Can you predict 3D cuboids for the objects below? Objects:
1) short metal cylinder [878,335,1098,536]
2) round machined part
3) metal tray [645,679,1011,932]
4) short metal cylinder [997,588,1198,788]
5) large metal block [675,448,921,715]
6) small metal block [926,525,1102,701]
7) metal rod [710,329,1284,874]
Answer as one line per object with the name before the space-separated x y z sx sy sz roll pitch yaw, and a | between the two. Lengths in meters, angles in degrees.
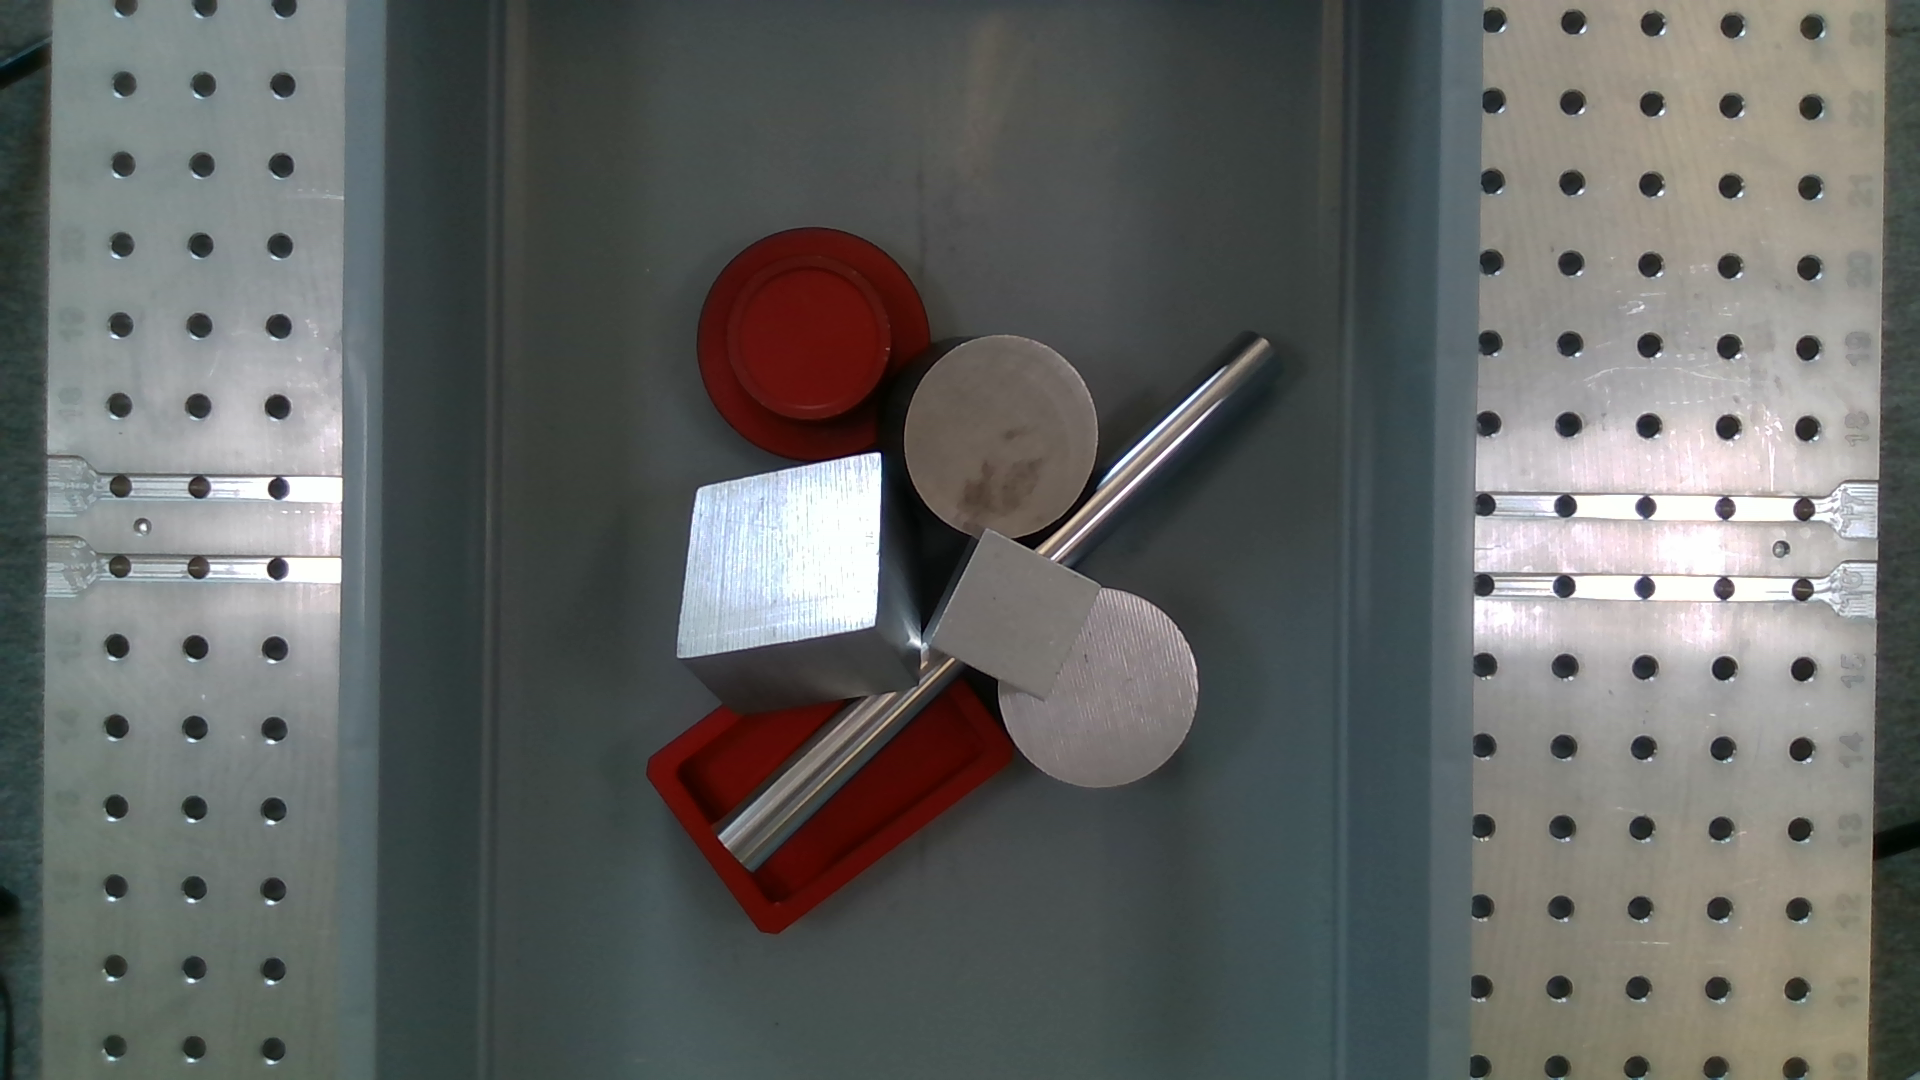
short metal cylinder | 0.010 -0.043 0.562 0.080 0.050 0.080 -2 99 -16
round machined part | -0.062 -0.082 0.576 0.098 0.042 0.098 0 91 0
metal tray | -0.054 0.091 0.584 0.130 0.030 0.090 -36 90 0
short metal cylinder | 0.055 0.059 0.575 0.080 0.050 0.080 0 90 0
large metal block | -0.061 0.017 0.548 0.080 0.050 0.080 -10 56 14
small metal block | 0.019 0.027 0.534 0.050 0.025 0.050 26 90 -8
metal rod | 0.020 0.021 0.562 0.300 0.025 0.025 -43 90 -9
